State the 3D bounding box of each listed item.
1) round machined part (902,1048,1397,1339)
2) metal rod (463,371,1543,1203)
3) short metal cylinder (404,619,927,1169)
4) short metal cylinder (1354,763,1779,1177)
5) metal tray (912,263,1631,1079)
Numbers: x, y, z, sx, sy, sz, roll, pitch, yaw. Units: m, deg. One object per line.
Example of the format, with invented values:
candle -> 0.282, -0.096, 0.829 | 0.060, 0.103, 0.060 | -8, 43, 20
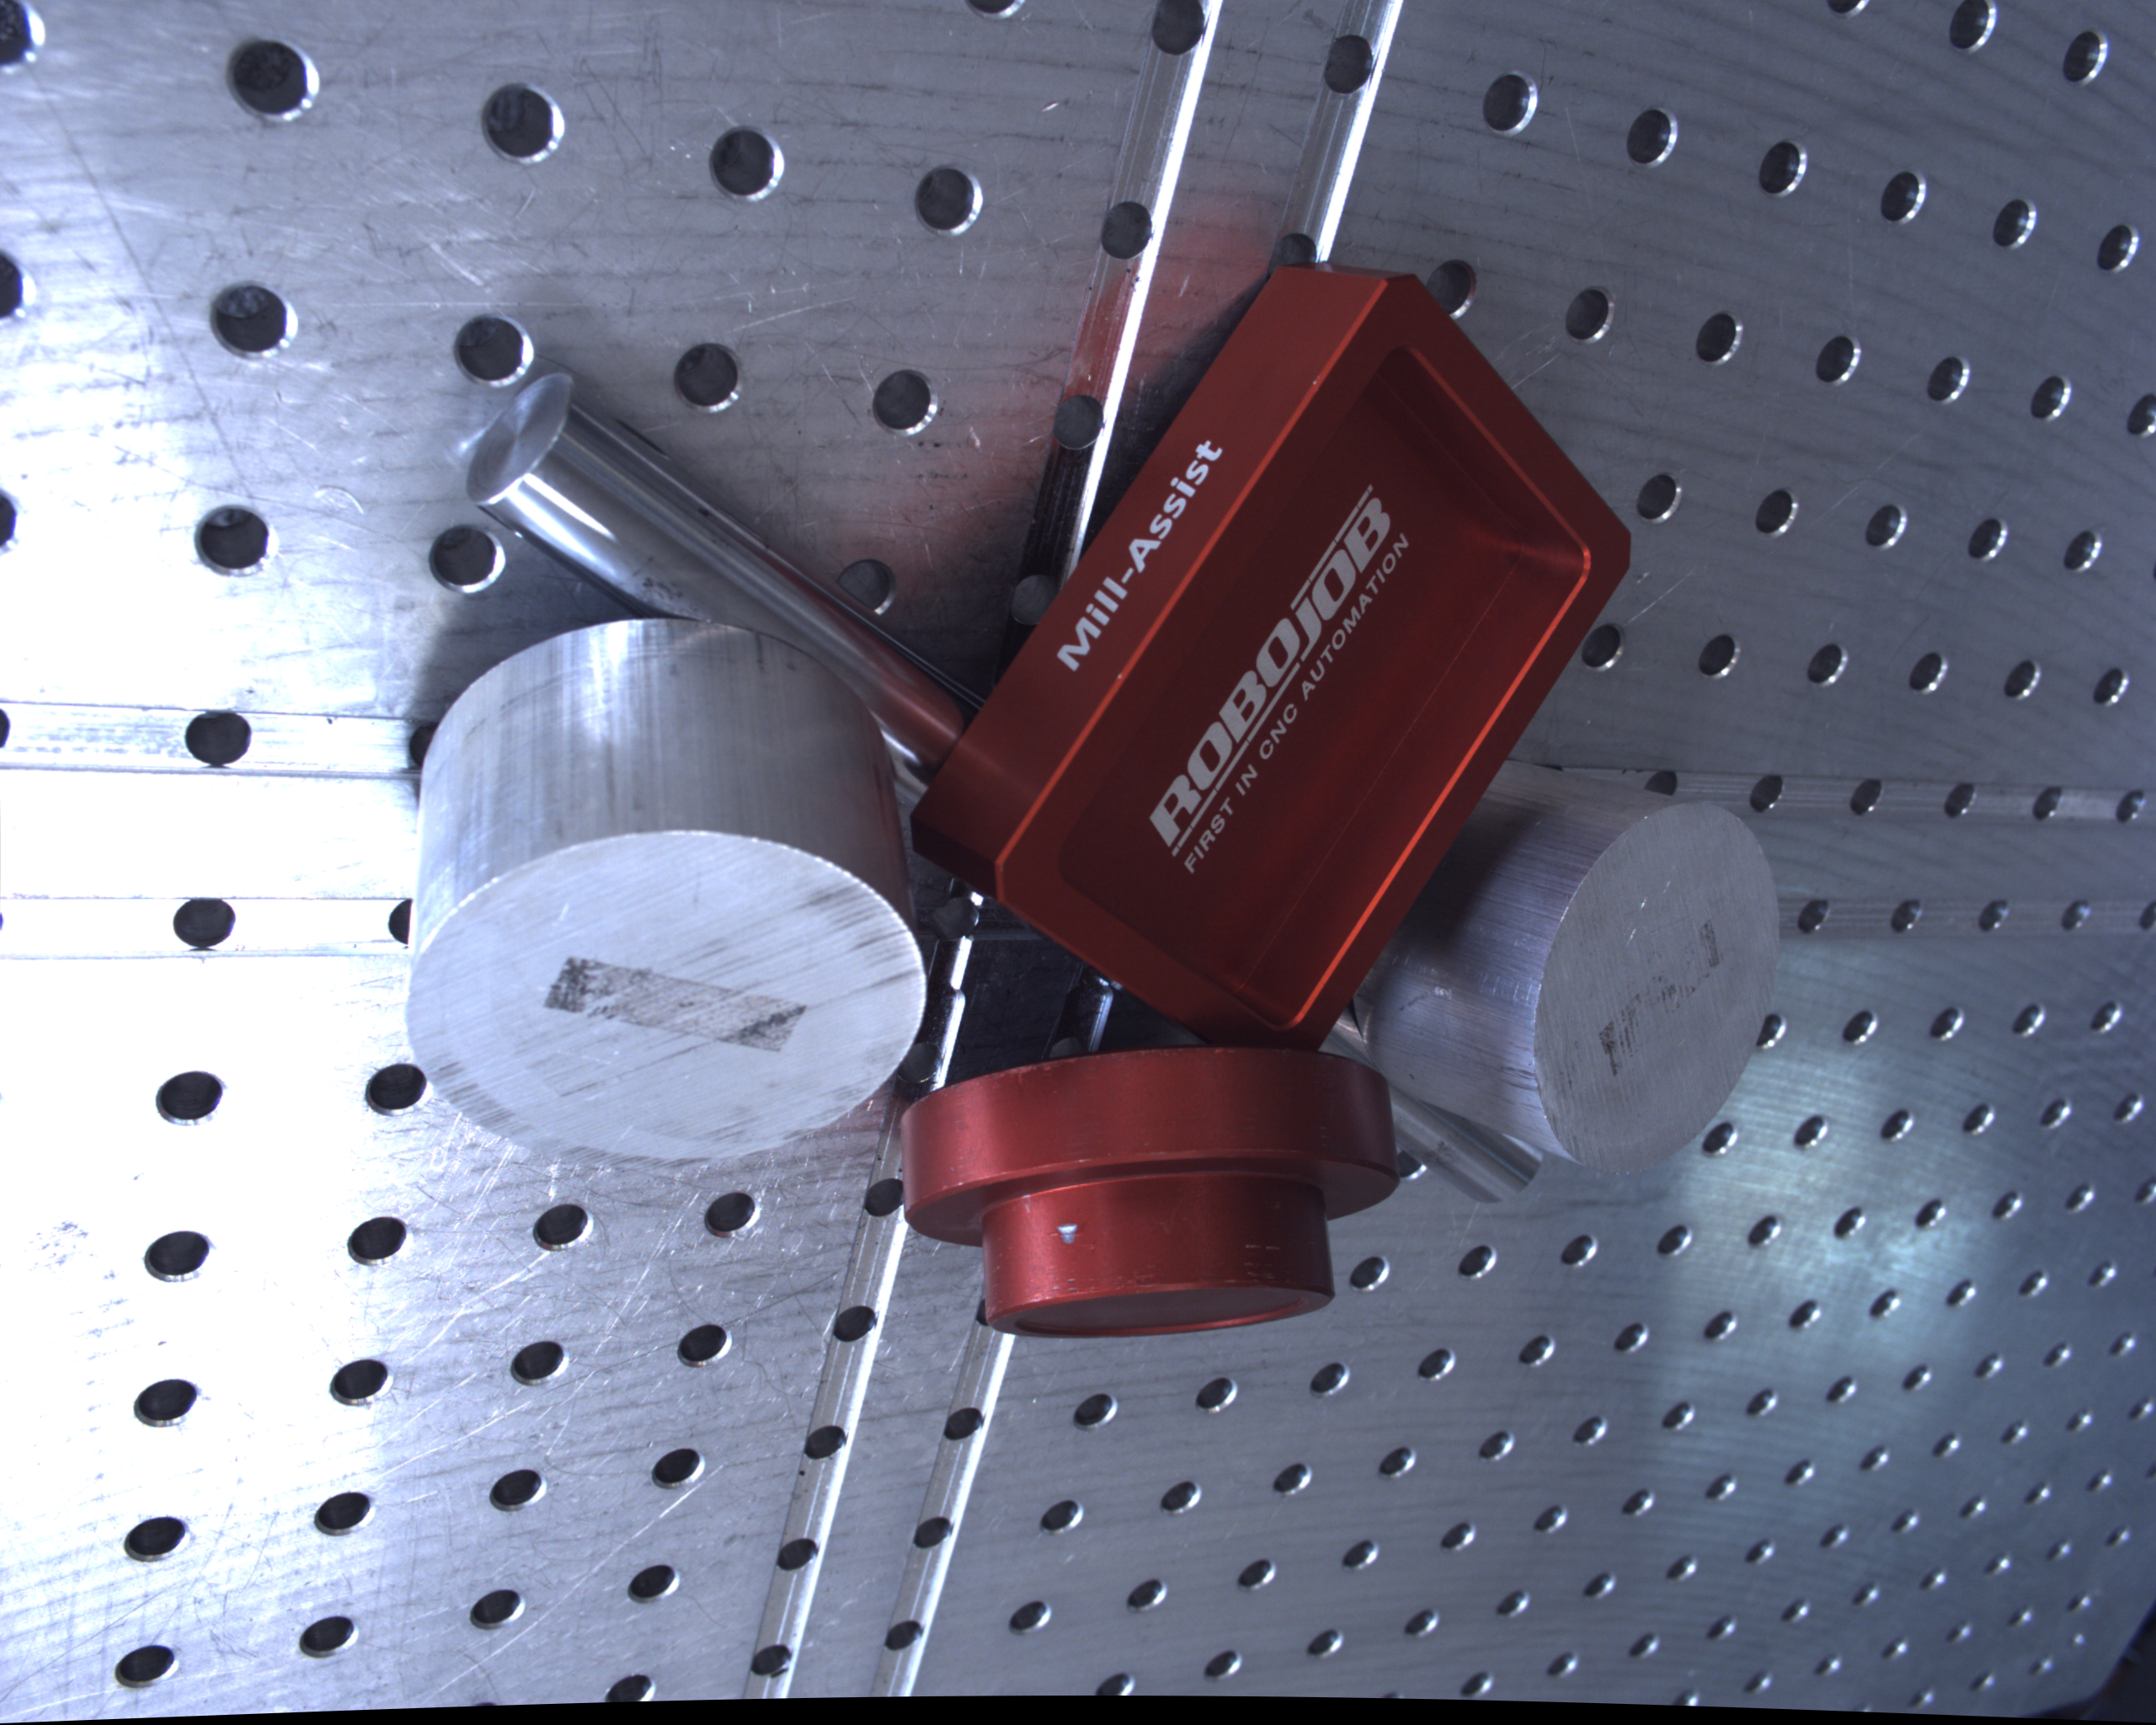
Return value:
round machined part -> 0.015, 0.069, 0.416 | 0.099, 0.042, 0.098 | -4, 161, -1
metal rod -> 0.008, 0.003, 0.417 | 0.025, 0.025, 0.301 | -49, 129, 6
short metal cylinder -> -0.068, 0.006, 0.346 | 0.081, 0.050, 0.080 | -8, 136, -7
short metal cylinder -> 0.106, 0.022, 0.451 | 0.081, 0.050, 0.079 | -11, 108, -37
metal tray -> 0.040, -0.033, 0.390 | 0.090, 0.030, 0.130 | 37, 84, -39
